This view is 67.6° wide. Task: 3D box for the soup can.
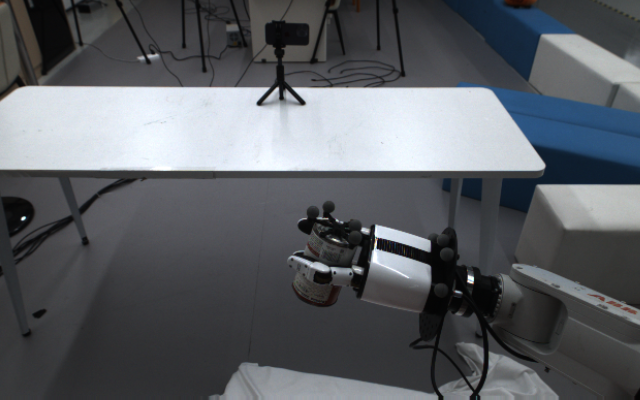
[{"bbox_3d":[0.009,0.088,0.666,0.067,0.101,0.067,17,21,-7],"label":"soup can"}]
